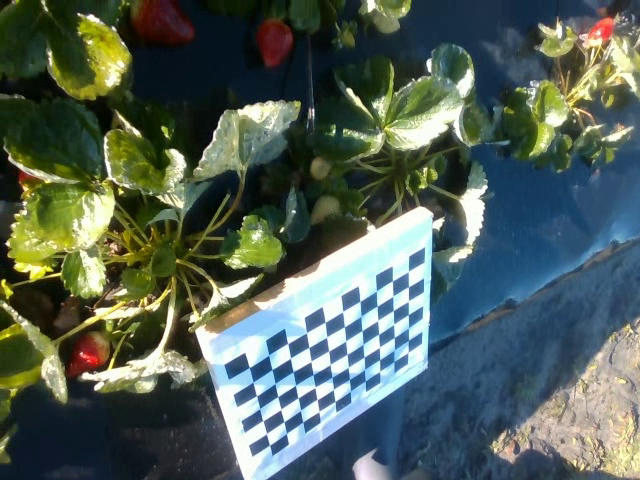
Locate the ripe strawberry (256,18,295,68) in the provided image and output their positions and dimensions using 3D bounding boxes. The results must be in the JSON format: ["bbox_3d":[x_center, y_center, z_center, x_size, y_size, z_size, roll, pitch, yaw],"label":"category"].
[{"bbox_3d":[-0.038,-0.169,0.539,0.039,0.047,0.040,12,3,-45],"label":"ripe strawberry"}]

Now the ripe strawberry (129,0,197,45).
[{"bbox_3d":[-0.118,-0.170,0.488,0.056,0.044,0.040,28,3,-46],"label":"ripe strawberry"}]
